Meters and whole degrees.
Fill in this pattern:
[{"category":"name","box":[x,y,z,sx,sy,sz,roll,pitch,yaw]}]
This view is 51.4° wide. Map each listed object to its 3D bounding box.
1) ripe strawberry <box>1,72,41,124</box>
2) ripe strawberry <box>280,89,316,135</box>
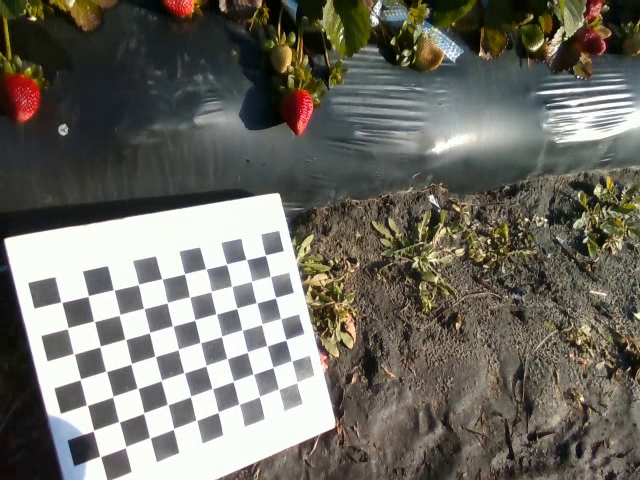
[{"category":"ripe strawberry","box":[-0.263,-0.119,0.572,0.045,0.055,0.042,-2,-39,-37]},{"category":"ripe strawberry","box":[-0.024,-0.133,0.687,0.042,0.059,0.042,15,-28,-34]}]
